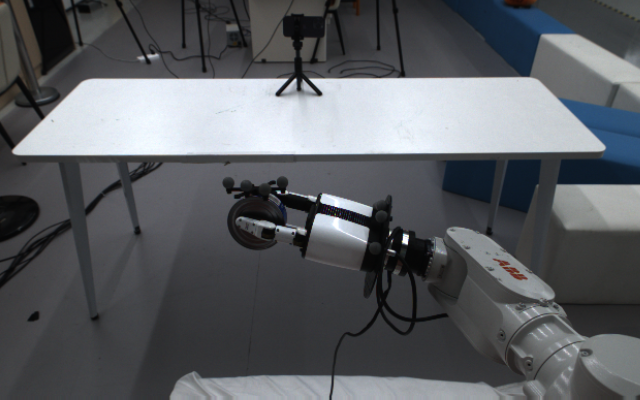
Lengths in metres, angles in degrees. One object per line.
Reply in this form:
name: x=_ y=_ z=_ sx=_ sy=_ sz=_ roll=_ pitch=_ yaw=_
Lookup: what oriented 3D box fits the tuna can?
tuna can: x=-0.087 y=0.031 z=0.724 sx=0.085 sy=0.085 sz=0.034 roll=4 pitch=18 yaw=3
